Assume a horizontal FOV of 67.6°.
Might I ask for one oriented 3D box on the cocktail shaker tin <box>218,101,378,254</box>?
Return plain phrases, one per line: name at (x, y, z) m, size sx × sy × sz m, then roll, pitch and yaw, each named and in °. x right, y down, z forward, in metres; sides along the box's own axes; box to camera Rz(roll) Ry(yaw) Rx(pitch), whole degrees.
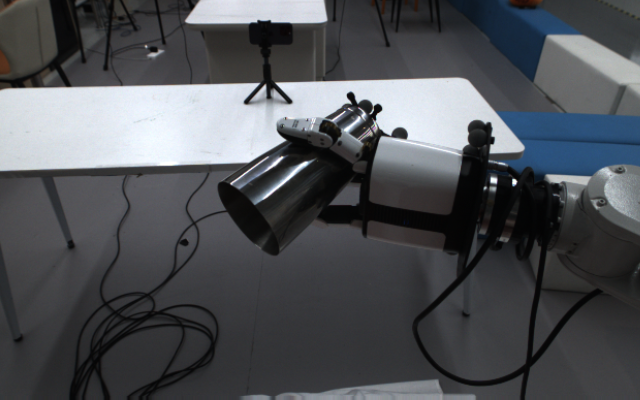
cocktail shaker tin at (-0.012, -0.034, 0.515) m, size 0.170 × 0.093 × 0.093 m, roll -38°, pitch 49°, yaw -24°
